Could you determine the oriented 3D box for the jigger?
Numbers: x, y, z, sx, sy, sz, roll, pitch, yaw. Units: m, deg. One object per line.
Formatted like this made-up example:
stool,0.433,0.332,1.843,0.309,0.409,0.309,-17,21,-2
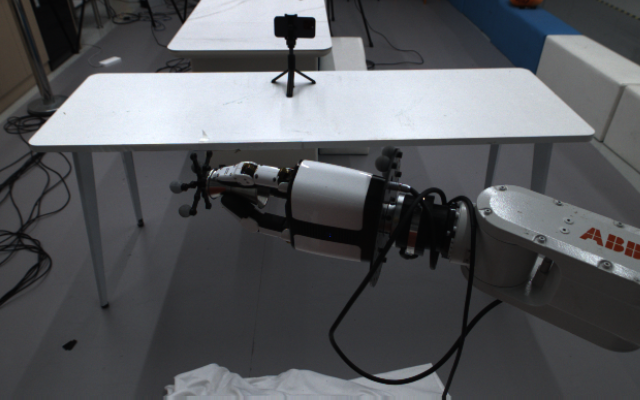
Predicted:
jigger,-0.095,-0.020,0.597,0.071,0.043,0.043,8,35,15
